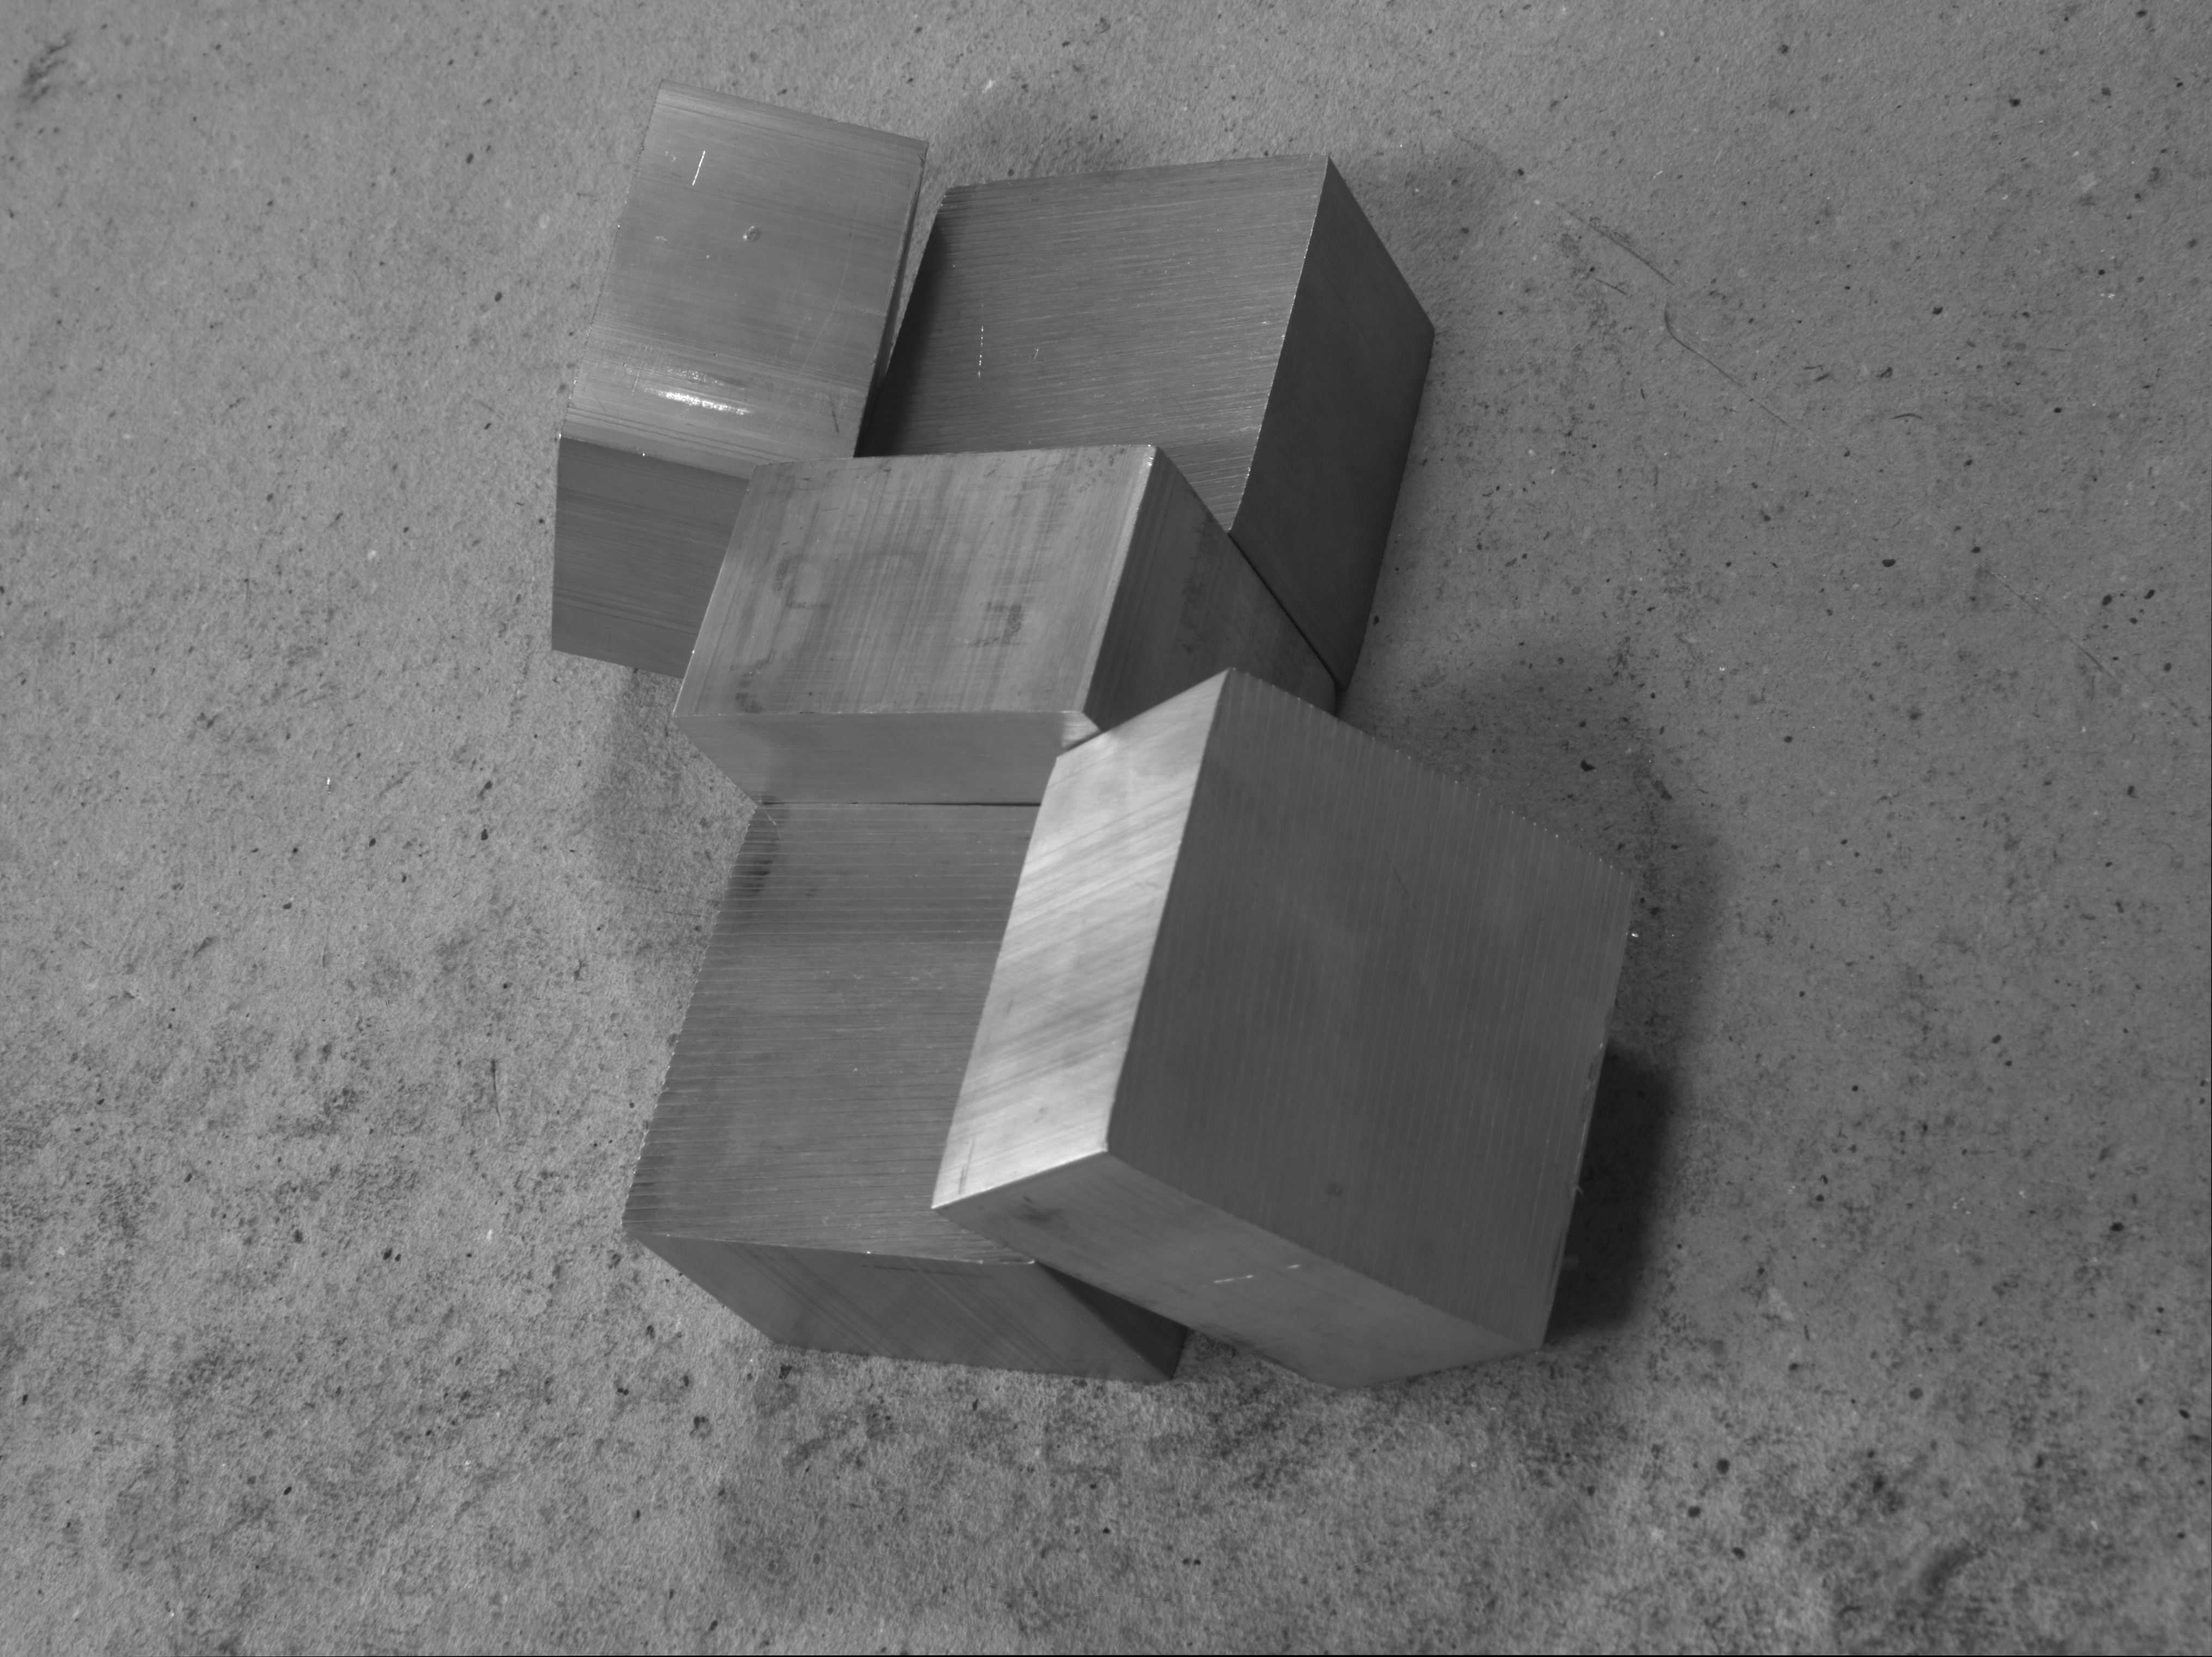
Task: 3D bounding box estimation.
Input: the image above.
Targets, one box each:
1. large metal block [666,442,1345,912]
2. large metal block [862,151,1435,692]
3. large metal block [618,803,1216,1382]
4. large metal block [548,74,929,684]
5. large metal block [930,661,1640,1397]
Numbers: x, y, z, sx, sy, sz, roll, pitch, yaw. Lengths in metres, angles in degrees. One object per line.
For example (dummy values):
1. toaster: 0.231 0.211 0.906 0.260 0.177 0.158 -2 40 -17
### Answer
1. large metal block: -0.015 -0.021 0.631 0.080 0.080 0.050 0 62 29
2. large metal block: 0.006 -0.072 0.668 0.080 0.050 0.080 0 61 29
3. large metal block: -0.025 0.043 0.616 0.080 0.050 0.080 1 62 29
4. large metal block: -0.070 -0.080 0.687 0.050 0.080 0.080 13 63 -3
5. large metal block: 0.029 0.033 0.564 0.050 0.080 0.080 -25 44 55
